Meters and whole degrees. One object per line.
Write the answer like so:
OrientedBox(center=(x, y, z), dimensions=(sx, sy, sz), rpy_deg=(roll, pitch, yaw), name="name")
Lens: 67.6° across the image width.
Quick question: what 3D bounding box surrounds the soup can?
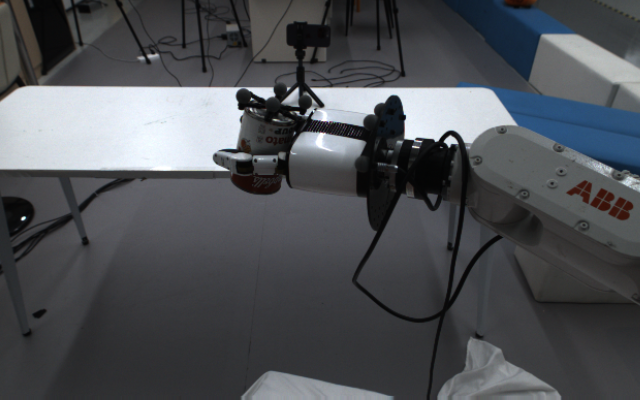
OrientedBox(center=(-0.070, -0.066, 0.610), dimensions=(0.067, 0.101, 0.067), rpy_deg=(13, 30, -8), name="soup can")
